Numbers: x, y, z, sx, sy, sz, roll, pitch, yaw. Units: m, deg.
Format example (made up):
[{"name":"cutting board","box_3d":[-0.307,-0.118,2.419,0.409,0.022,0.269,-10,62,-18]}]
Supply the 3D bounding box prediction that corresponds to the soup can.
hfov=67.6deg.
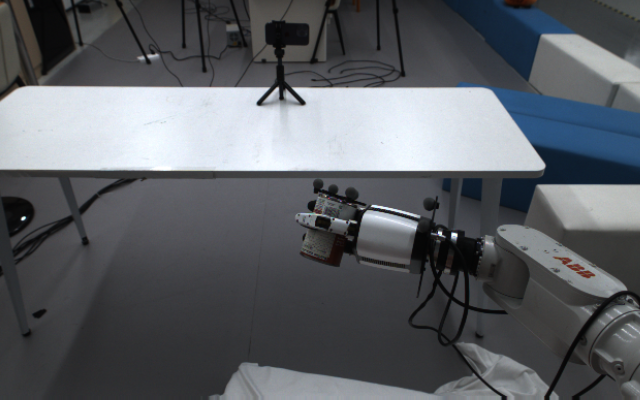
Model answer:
[{"name":"soup can","box_3d":[0.015,0.047,0.771,0.067,0.101,0.067,17,-1,0]}]
